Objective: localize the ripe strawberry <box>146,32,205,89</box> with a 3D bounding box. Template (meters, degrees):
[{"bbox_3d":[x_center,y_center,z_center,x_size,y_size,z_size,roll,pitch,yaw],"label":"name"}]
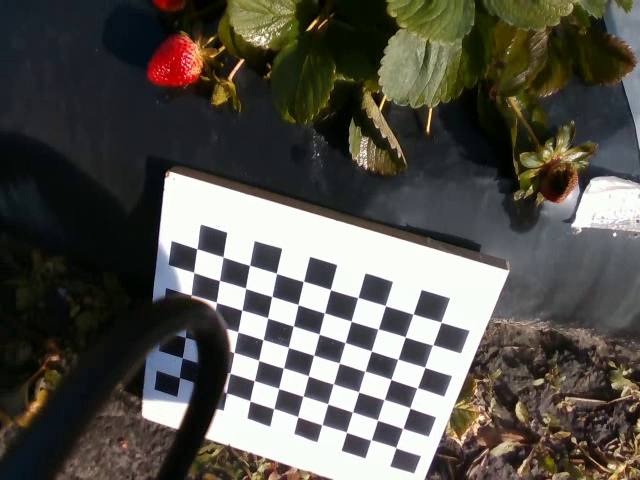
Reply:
[{"bbox_3d":[-0.120,-0.145,0.504,0.053,0.043,0.038,-37,14,-19],"label":"ripe strawberry"}]
